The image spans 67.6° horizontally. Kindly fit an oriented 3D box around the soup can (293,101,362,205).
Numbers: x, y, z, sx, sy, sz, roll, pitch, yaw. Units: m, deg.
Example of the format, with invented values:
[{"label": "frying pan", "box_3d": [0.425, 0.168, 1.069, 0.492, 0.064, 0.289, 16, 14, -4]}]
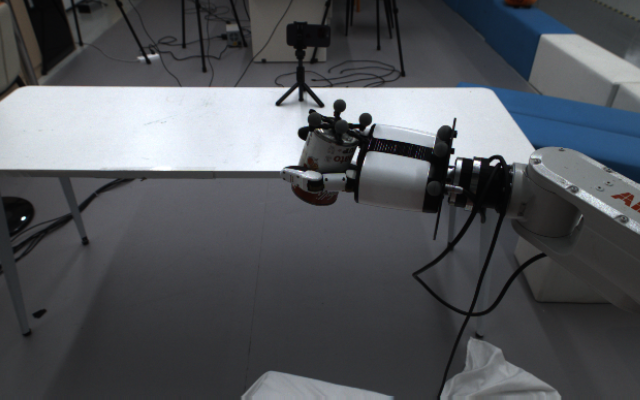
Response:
[{"label": "soup can", "box_3d": [0.008, -0.052, 0.649, 0.067, 0.101, 0.067, 14, 35, -10]}]
